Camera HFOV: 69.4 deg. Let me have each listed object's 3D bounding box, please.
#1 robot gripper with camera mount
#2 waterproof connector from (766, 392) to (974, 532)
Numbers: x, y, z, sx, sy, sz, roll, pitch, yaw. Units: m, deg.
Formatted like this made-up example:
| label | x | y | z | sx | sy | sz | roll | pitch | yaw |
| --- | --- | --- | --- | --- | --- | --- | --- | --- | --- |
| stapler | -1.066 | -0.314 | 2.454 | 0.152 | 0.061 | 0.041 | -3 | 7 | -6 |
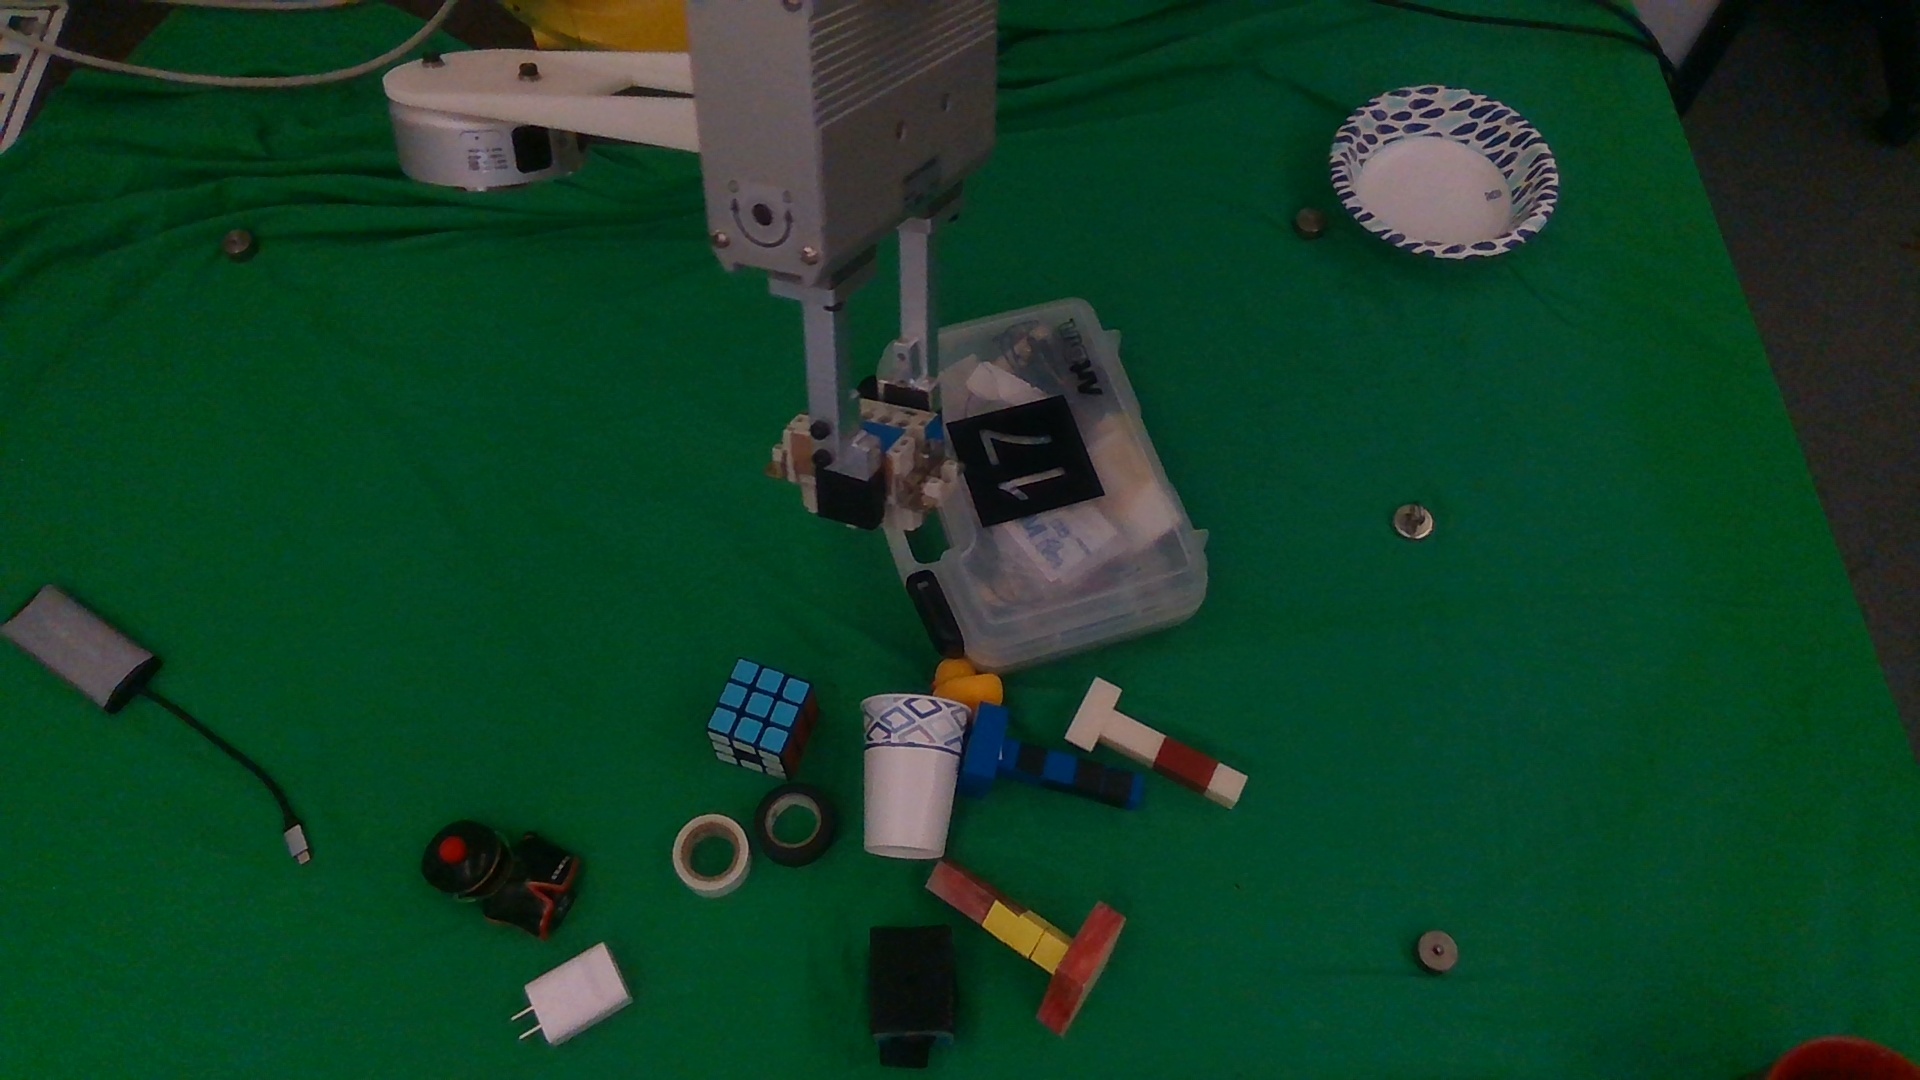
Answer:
| label | x | y | z | sx | sy | sz | roll | pitch | yaw |
| --- | --- | --- | --- | --- | --- | --- | --- | --- | --- |
| robot gripper with camera mount | -0.097 | -0.092 | 0.444 | 0.194 | 0.158 | 0.119 | 11 | 29 | 15 |
| waterproof connector | -0.031 | -0.026 | 0.468 | 0.065 | 0.037 | 0.035 | 15 | 32 | 25 |
